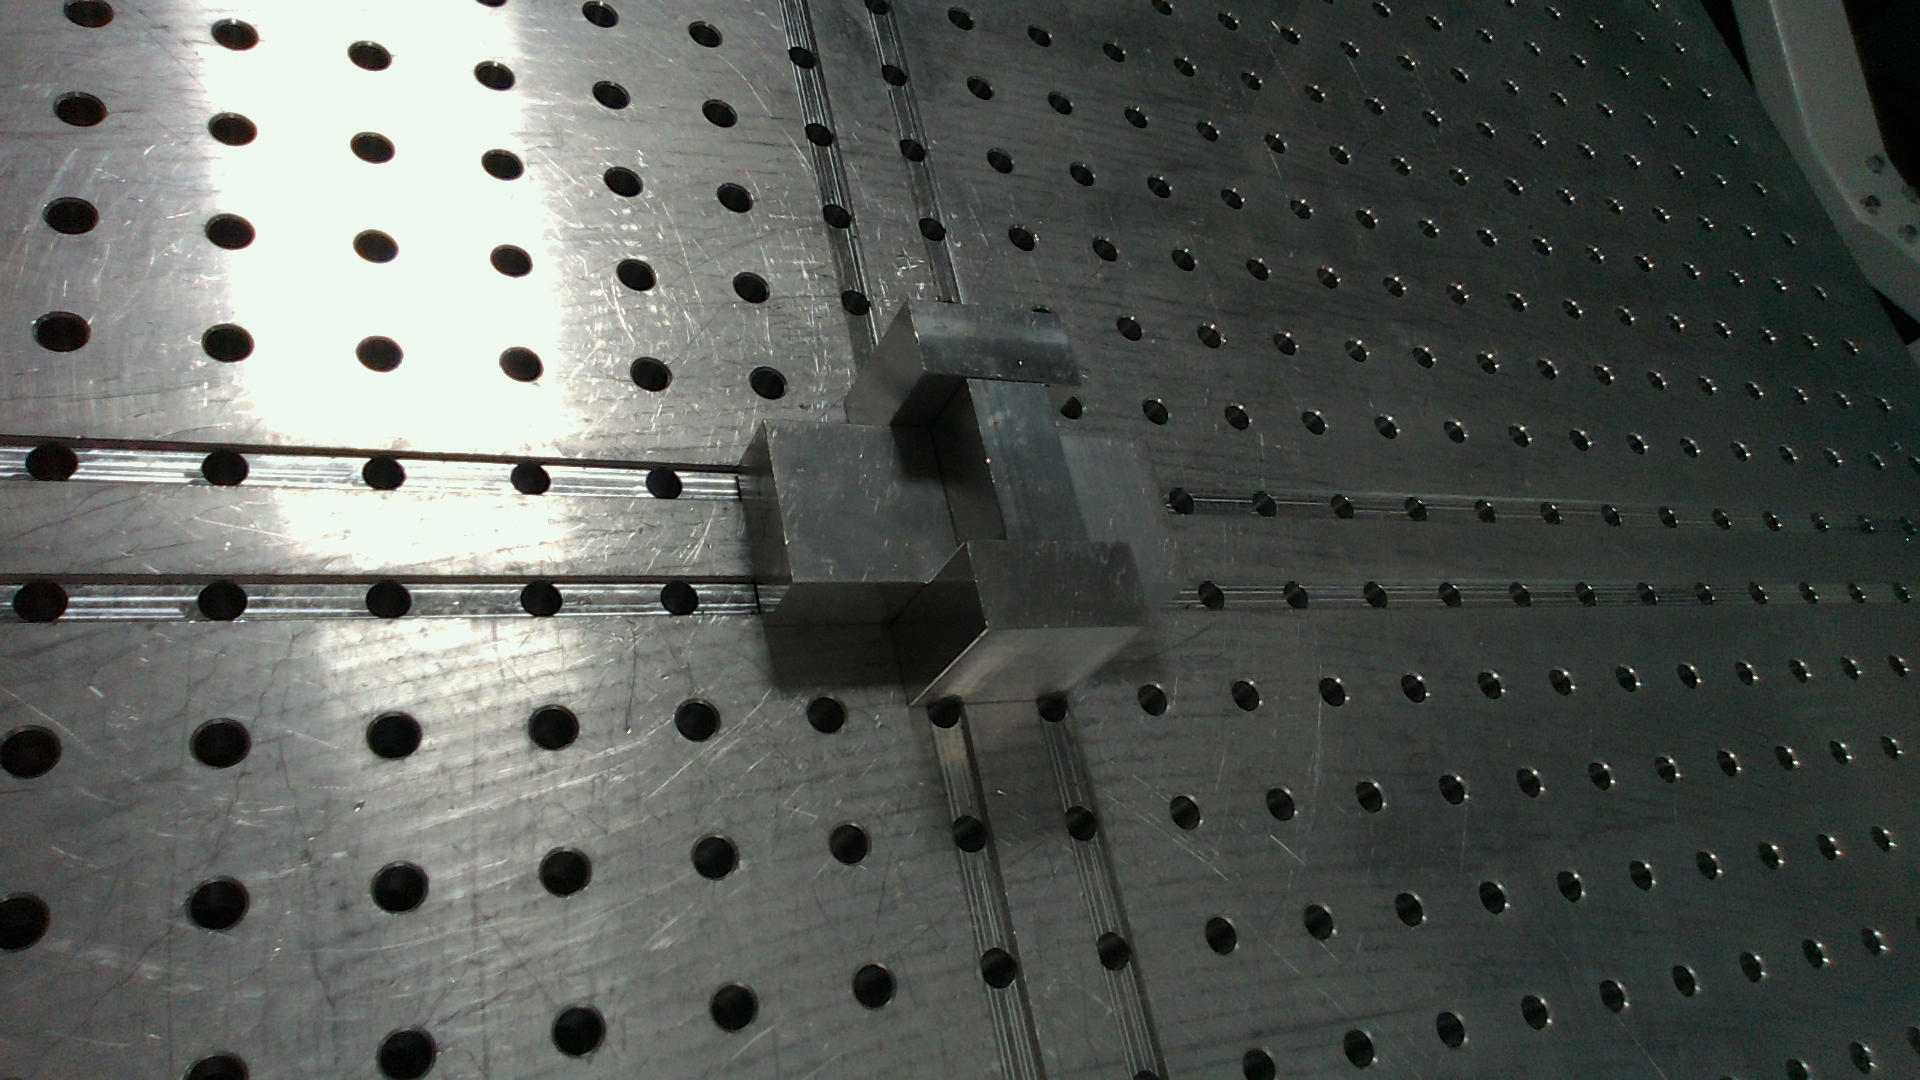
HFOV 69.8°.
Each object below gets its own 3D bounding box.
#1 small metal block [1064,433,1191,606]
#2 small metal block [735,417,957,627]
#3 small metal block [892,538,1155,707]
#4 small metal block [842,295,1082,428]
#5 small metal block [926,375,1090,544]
[{"bbox_3d":[0.036,-0.004,0.414,0.050,0.025,0.050,1,61,-28],"label":"small metal block"},{"bbox_3d":[-0.031,-0.005,0.379,0.050,0.025,0.050,1,61,-28],"label":"small metal block"},{"bbox_3d":[0.016,0.023,0.371,0.050,0.050,0.025,1,61,-28],"label":"small metal block"},{"bbox_3d":[-0.001,-0.044,0.403,0.050,0.050,0.025,1,61,-28],"label":"small metal block"},{"bbox_3d":[0.008,-0.011,0.387,0.025,0.050,0.050,1,61,-28],"label":"small metal block"}]
